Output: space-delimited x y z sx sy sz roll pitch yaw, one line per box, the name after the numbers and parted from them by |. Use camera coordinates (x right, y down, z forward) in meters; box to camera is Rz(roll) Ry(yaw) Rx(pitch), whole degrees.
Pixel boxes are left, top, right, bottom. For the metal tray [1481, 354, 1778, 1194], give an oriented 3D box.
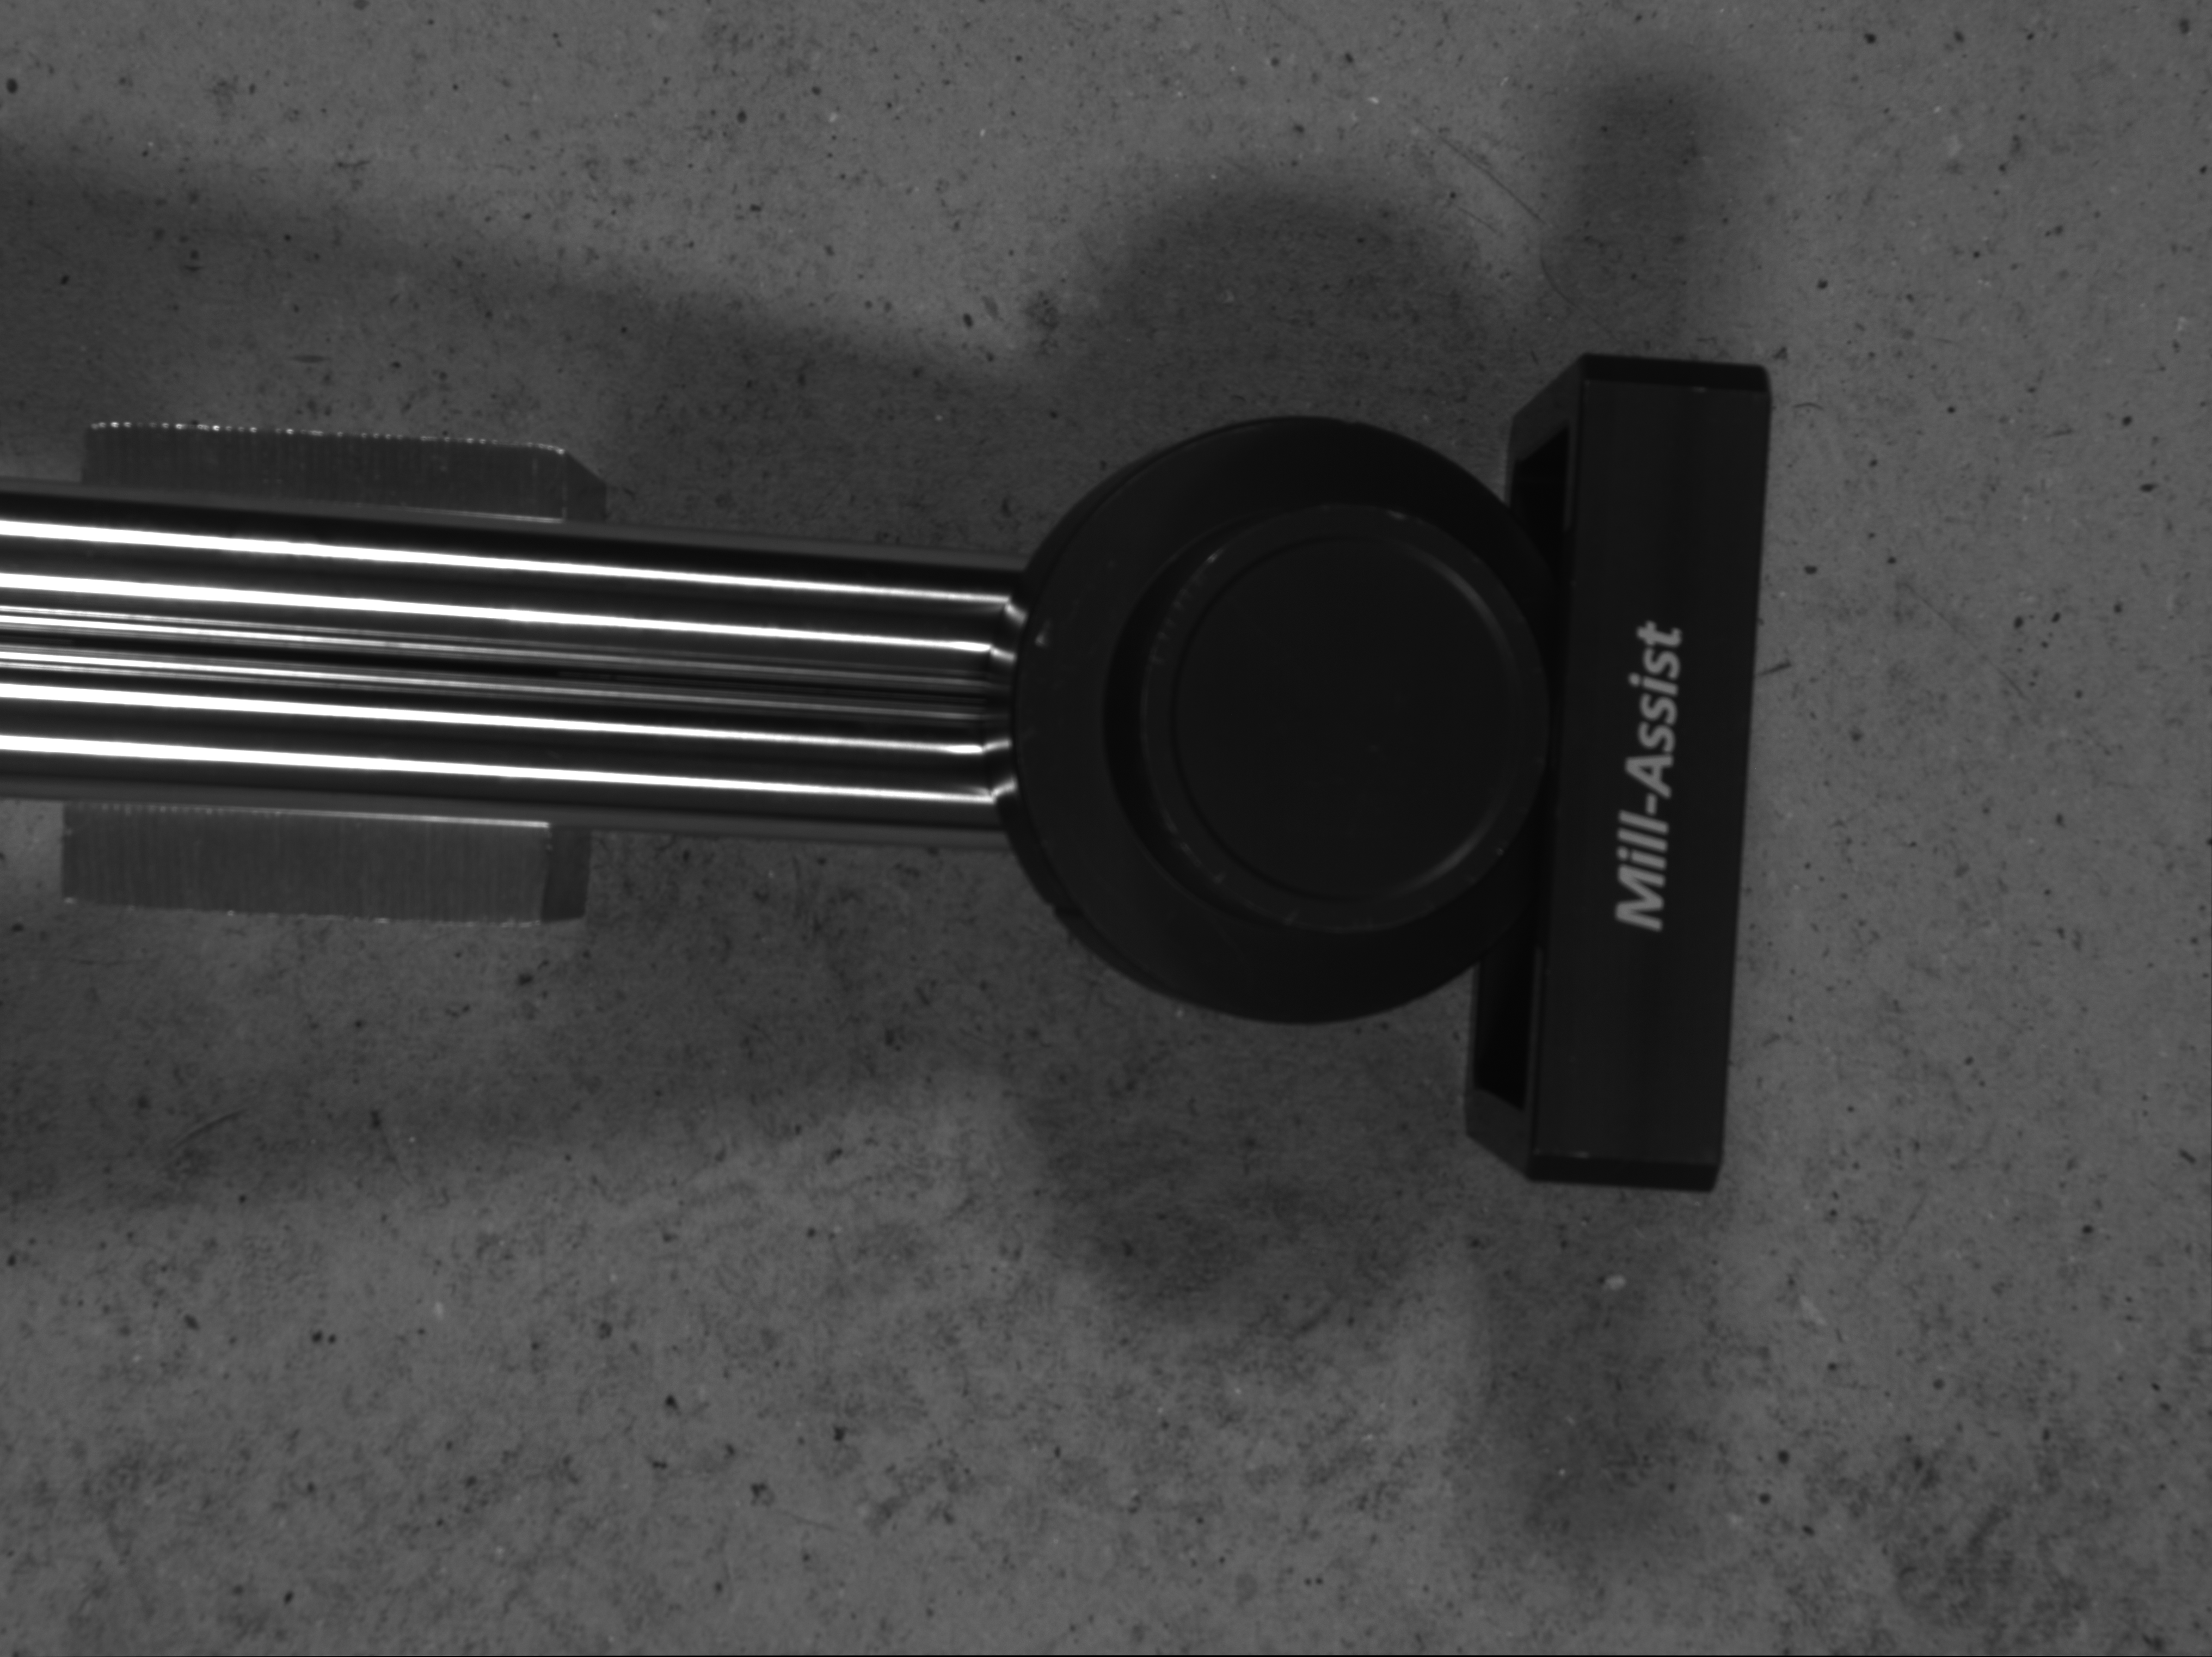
0.086 -0.008 0.613 0.030 0.090 0.130 4 90 0 | metal tray

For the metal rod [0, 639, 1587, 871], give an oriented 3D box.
-0.067 -0.011 0.600 0.300 0.025 0.025 3 90 -13 | metal rod

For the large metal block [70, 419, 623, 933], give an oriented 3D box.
-0.128 -0.025 0.628 0.080 0.050 0.080 3 90 0 | large metal block

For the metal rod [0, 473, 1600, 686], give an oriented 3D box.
-0.065 -0.038 0.600 0.300 0.025 0.025 3 90 -13 | metal rod

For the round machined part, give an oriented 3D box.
0.033 -0.017 0.588 0.098 0.042 0.098 0 92 -11 | round machined part
